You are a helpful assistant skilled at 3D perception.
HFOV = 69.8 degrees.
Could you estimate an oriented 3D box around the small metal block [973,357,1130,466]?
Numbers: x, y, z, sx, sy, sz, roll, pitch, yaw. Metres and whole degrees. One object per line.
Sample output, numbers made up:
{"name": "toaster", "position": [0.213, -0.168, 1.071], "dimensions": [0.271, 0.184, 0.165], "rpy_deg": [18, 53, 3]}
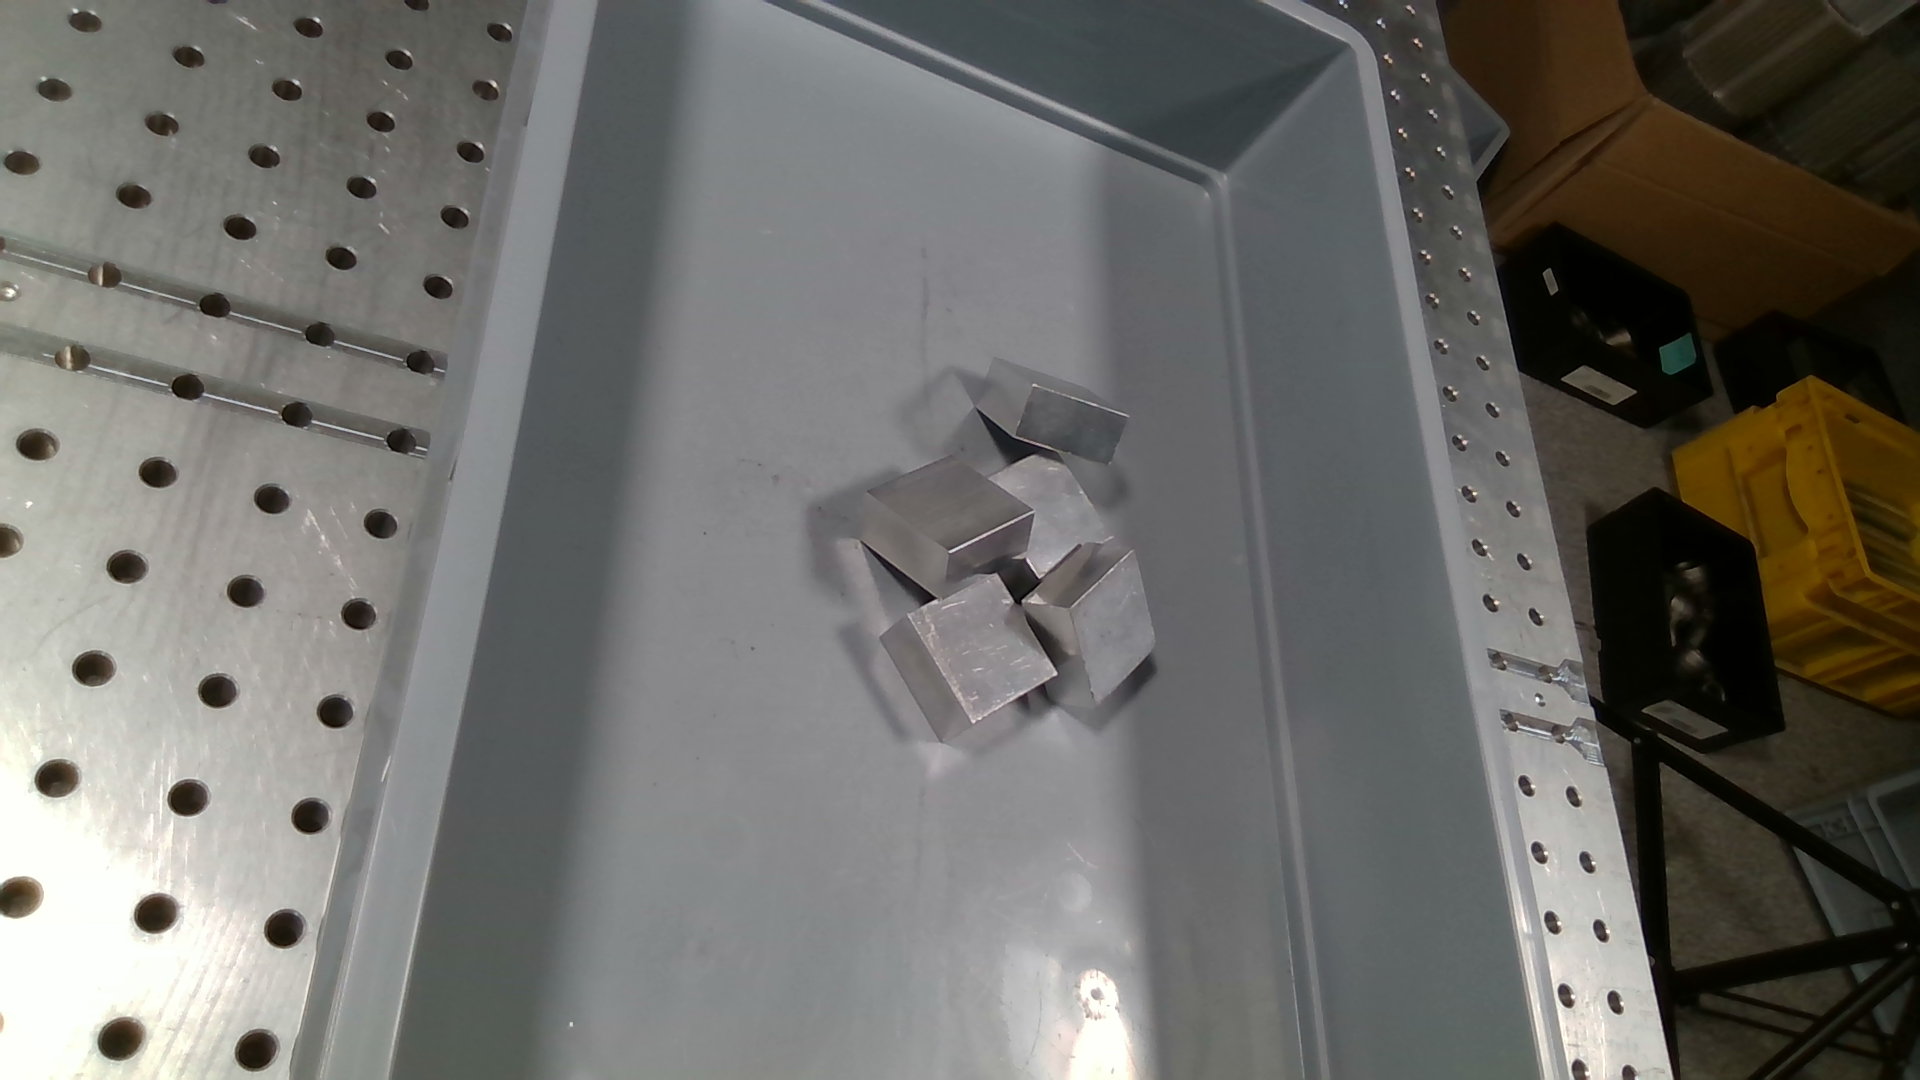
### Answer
{"name": "small metal block", "position": [0.041, -0.059, 0.624], "dimensions": [0.050, 0.025, 0.050], "rpy_deg": [15, 14, -25]}

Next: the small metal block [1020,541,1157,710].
{"name": "small metal block", "position": [0.056, 0.036, 0.585], "dimensions": [0.050, 0.025, 0.050], "rpy_deg": [-39, 124, -39]}

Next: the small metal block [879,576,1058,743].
{"name": "small metal block", "position": [0.004, 0.047, 0.561], "dimensions": [0.050, 0.025, 0.050], "rpy_deg": [-25, 80, -38]}

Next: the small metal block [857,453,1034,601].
{"name": "small metal block", "position": [-0.006, -0.007, 0.569], "dimensions": [0.050, 0.025, 0.050], "rpy_deg": [-26, 49, -39]}

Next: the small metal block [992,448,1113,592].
{"name": "small metal block", "position": [0.031, -0.008, 0.608], "dimensions": [0.050, 0.025, 0.050], "rpy_deg": [-28, 81, -38]}
